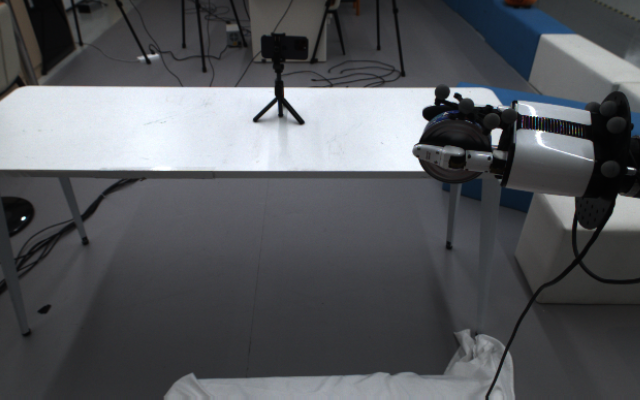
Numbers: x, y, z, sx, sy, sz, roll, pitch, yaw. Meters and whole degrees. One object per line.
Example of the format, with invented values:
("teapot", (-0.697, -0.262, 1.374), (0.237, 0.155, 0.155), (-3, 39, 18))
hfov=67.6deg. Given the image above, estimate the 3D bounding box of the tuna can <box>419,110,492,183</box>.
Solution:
("tuna can", (0.166, -0.067, 0.590), (0.085, 0.085, 0.034), (12, 33, 14))
